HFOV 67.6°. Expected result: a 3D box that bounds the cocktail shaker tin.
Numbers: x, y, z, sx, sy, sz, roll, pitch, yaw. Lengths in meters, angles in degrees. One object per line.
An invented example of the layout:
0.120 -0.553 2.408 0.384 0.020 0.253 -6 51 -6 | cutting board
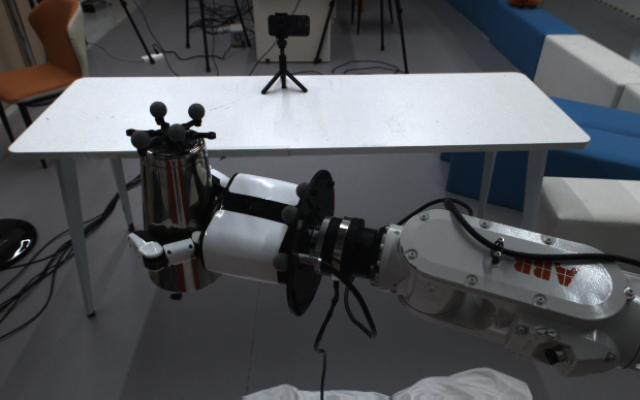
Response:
-0.154 0.010 0.545 0.093 0.170 0.093 3 34 -2 | cocktail shaker tin
